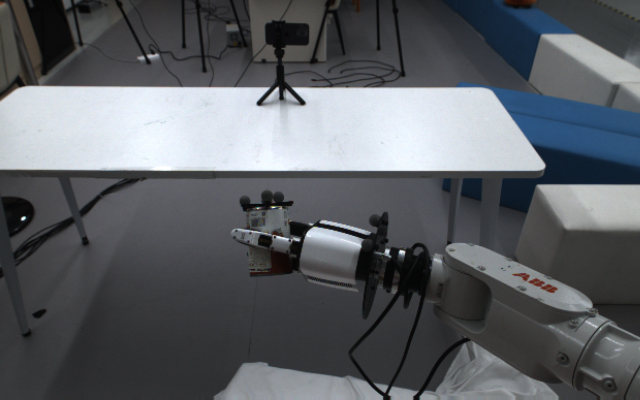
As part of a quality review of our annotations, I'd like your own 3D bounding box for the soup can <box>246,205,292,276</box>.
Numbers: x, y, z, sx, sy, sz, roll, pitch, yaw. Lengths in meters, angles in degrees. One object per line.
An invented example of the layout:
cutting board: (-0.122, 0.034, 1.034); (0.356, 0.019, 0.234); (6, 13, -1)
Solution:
soup can: (-0.077, 0.064, 0.739); (0.067, 0.101, 0.067); (-5, -5, 0)
